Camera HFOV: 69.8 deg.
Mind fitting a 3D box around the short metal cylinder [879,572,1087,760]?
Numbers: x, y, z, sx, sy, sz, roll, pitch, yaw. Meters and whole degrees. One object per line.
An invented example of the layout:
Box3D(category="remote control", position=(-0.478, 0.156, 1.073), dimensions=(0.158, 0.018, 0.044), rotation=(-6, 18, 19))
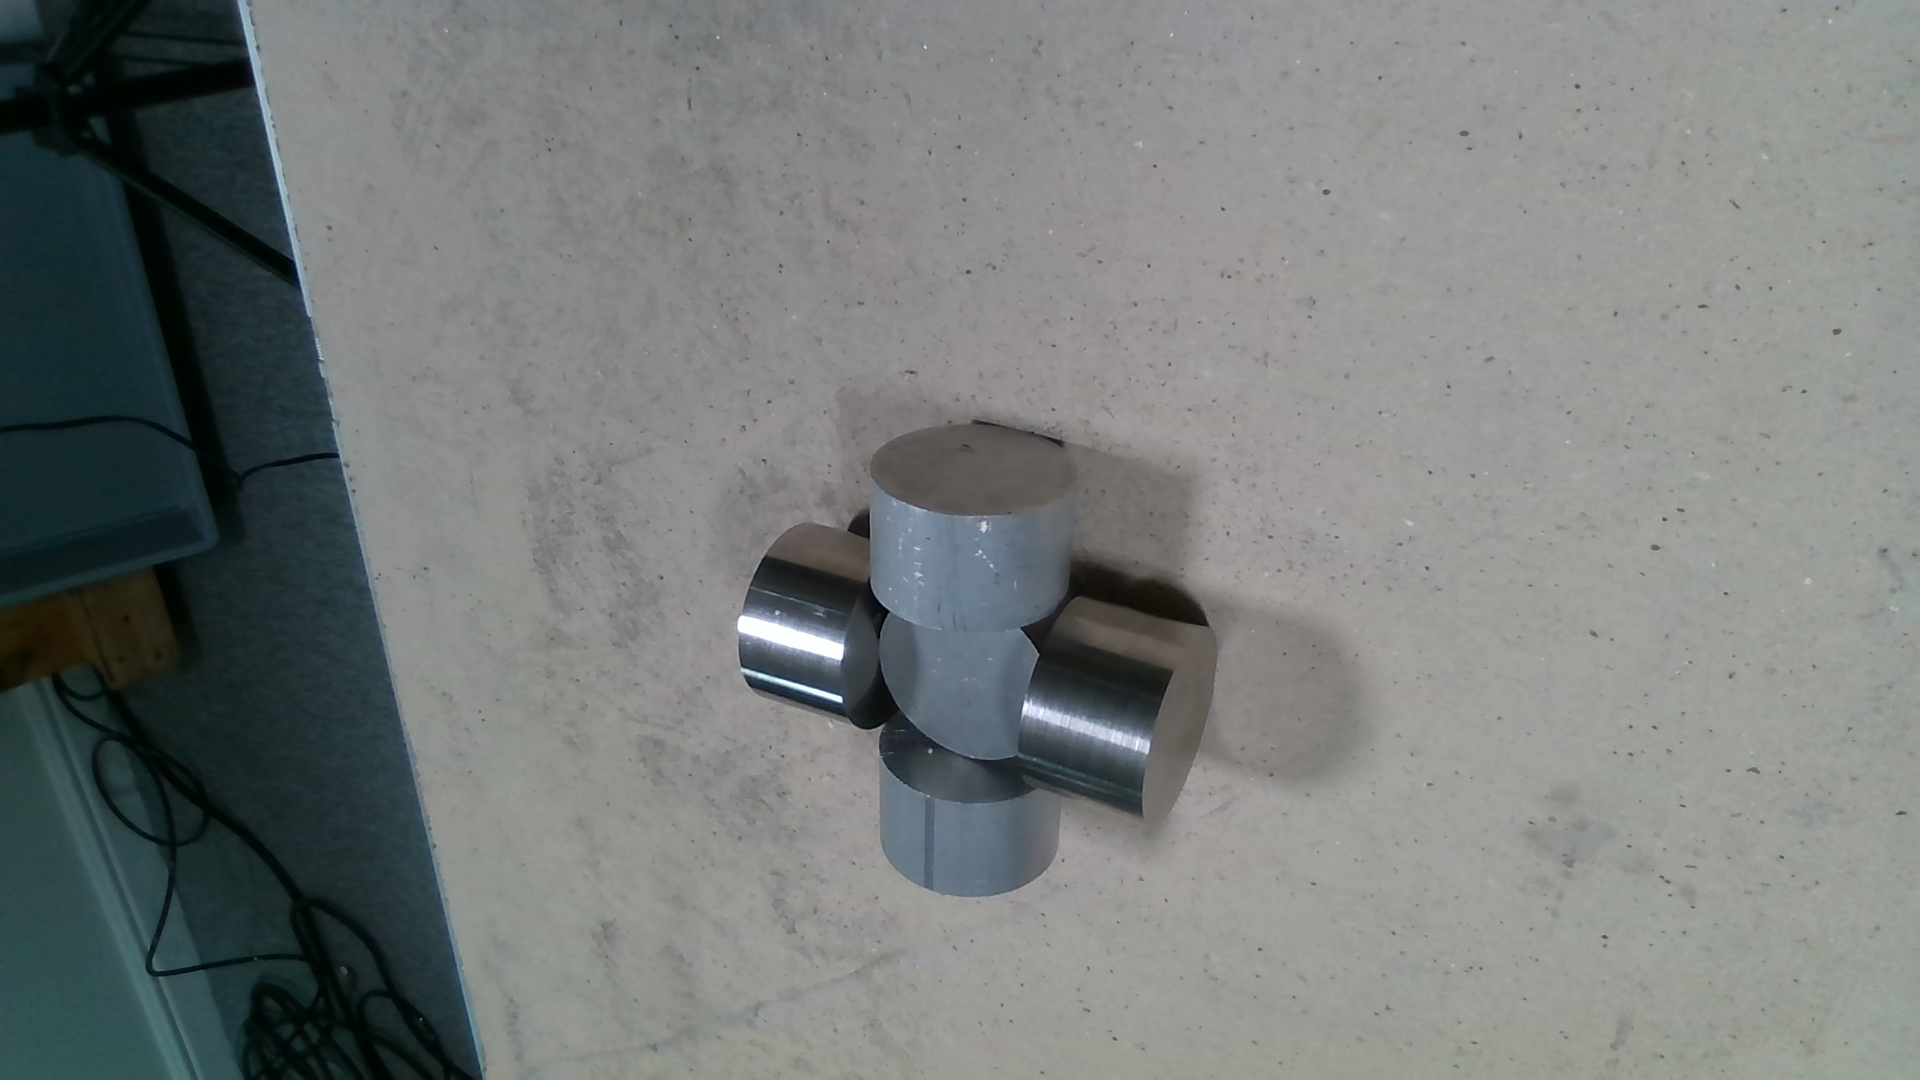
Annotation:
Box3D(category="short metal cylinder", position=(0.013, 0.045, 0.581), dimensions=(0.080, 0.050, 0.080), rotation=(14, 122, 25))

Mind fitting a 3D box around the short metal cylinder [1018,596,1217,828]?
Box3D(category="short metal cylinder", position=(0.063, 0.067, 0.541), dimensions=(0.050, 0.080, 0.080), rotation=(16, 122, 24))

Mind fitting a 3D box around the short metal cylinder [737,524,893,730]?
Box3D(category="short metal cylinder", position=(-0.052, 0.036, 0.596), dimensions=(0.050, 0.080, 0.080), rotation=(14, 122, 24))

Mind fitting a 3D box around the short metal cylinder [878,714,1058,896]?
Box3D(category="short metal cylinder", position=(0.004, 0.108, 0.602), dimensions=(0.080, 0.080, 0.050), rotation=(16, 122, 24))

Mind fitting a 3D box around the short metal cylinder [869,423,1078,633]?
Box3D(category="short metal cylinder", position=(0.005, -0.006, 0.539), dimensions=(0.080, 0.080, 0.050), rotation=(16, 122, 24))
